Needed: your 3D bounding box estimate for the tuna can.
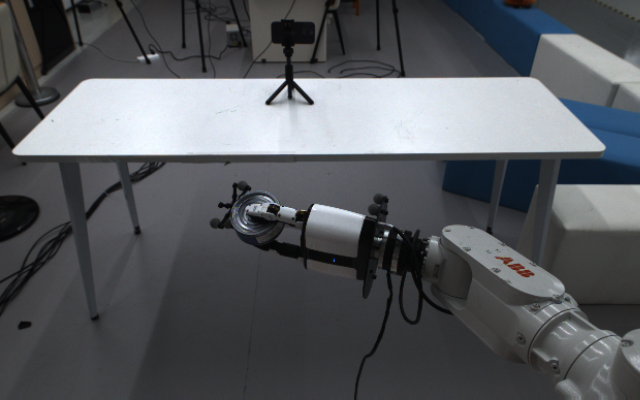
[{"bbox_3d":[-0.099,0.028,0.783,0.085,0.034,0.085,-3,59,6],"label":"tuna can"}]
